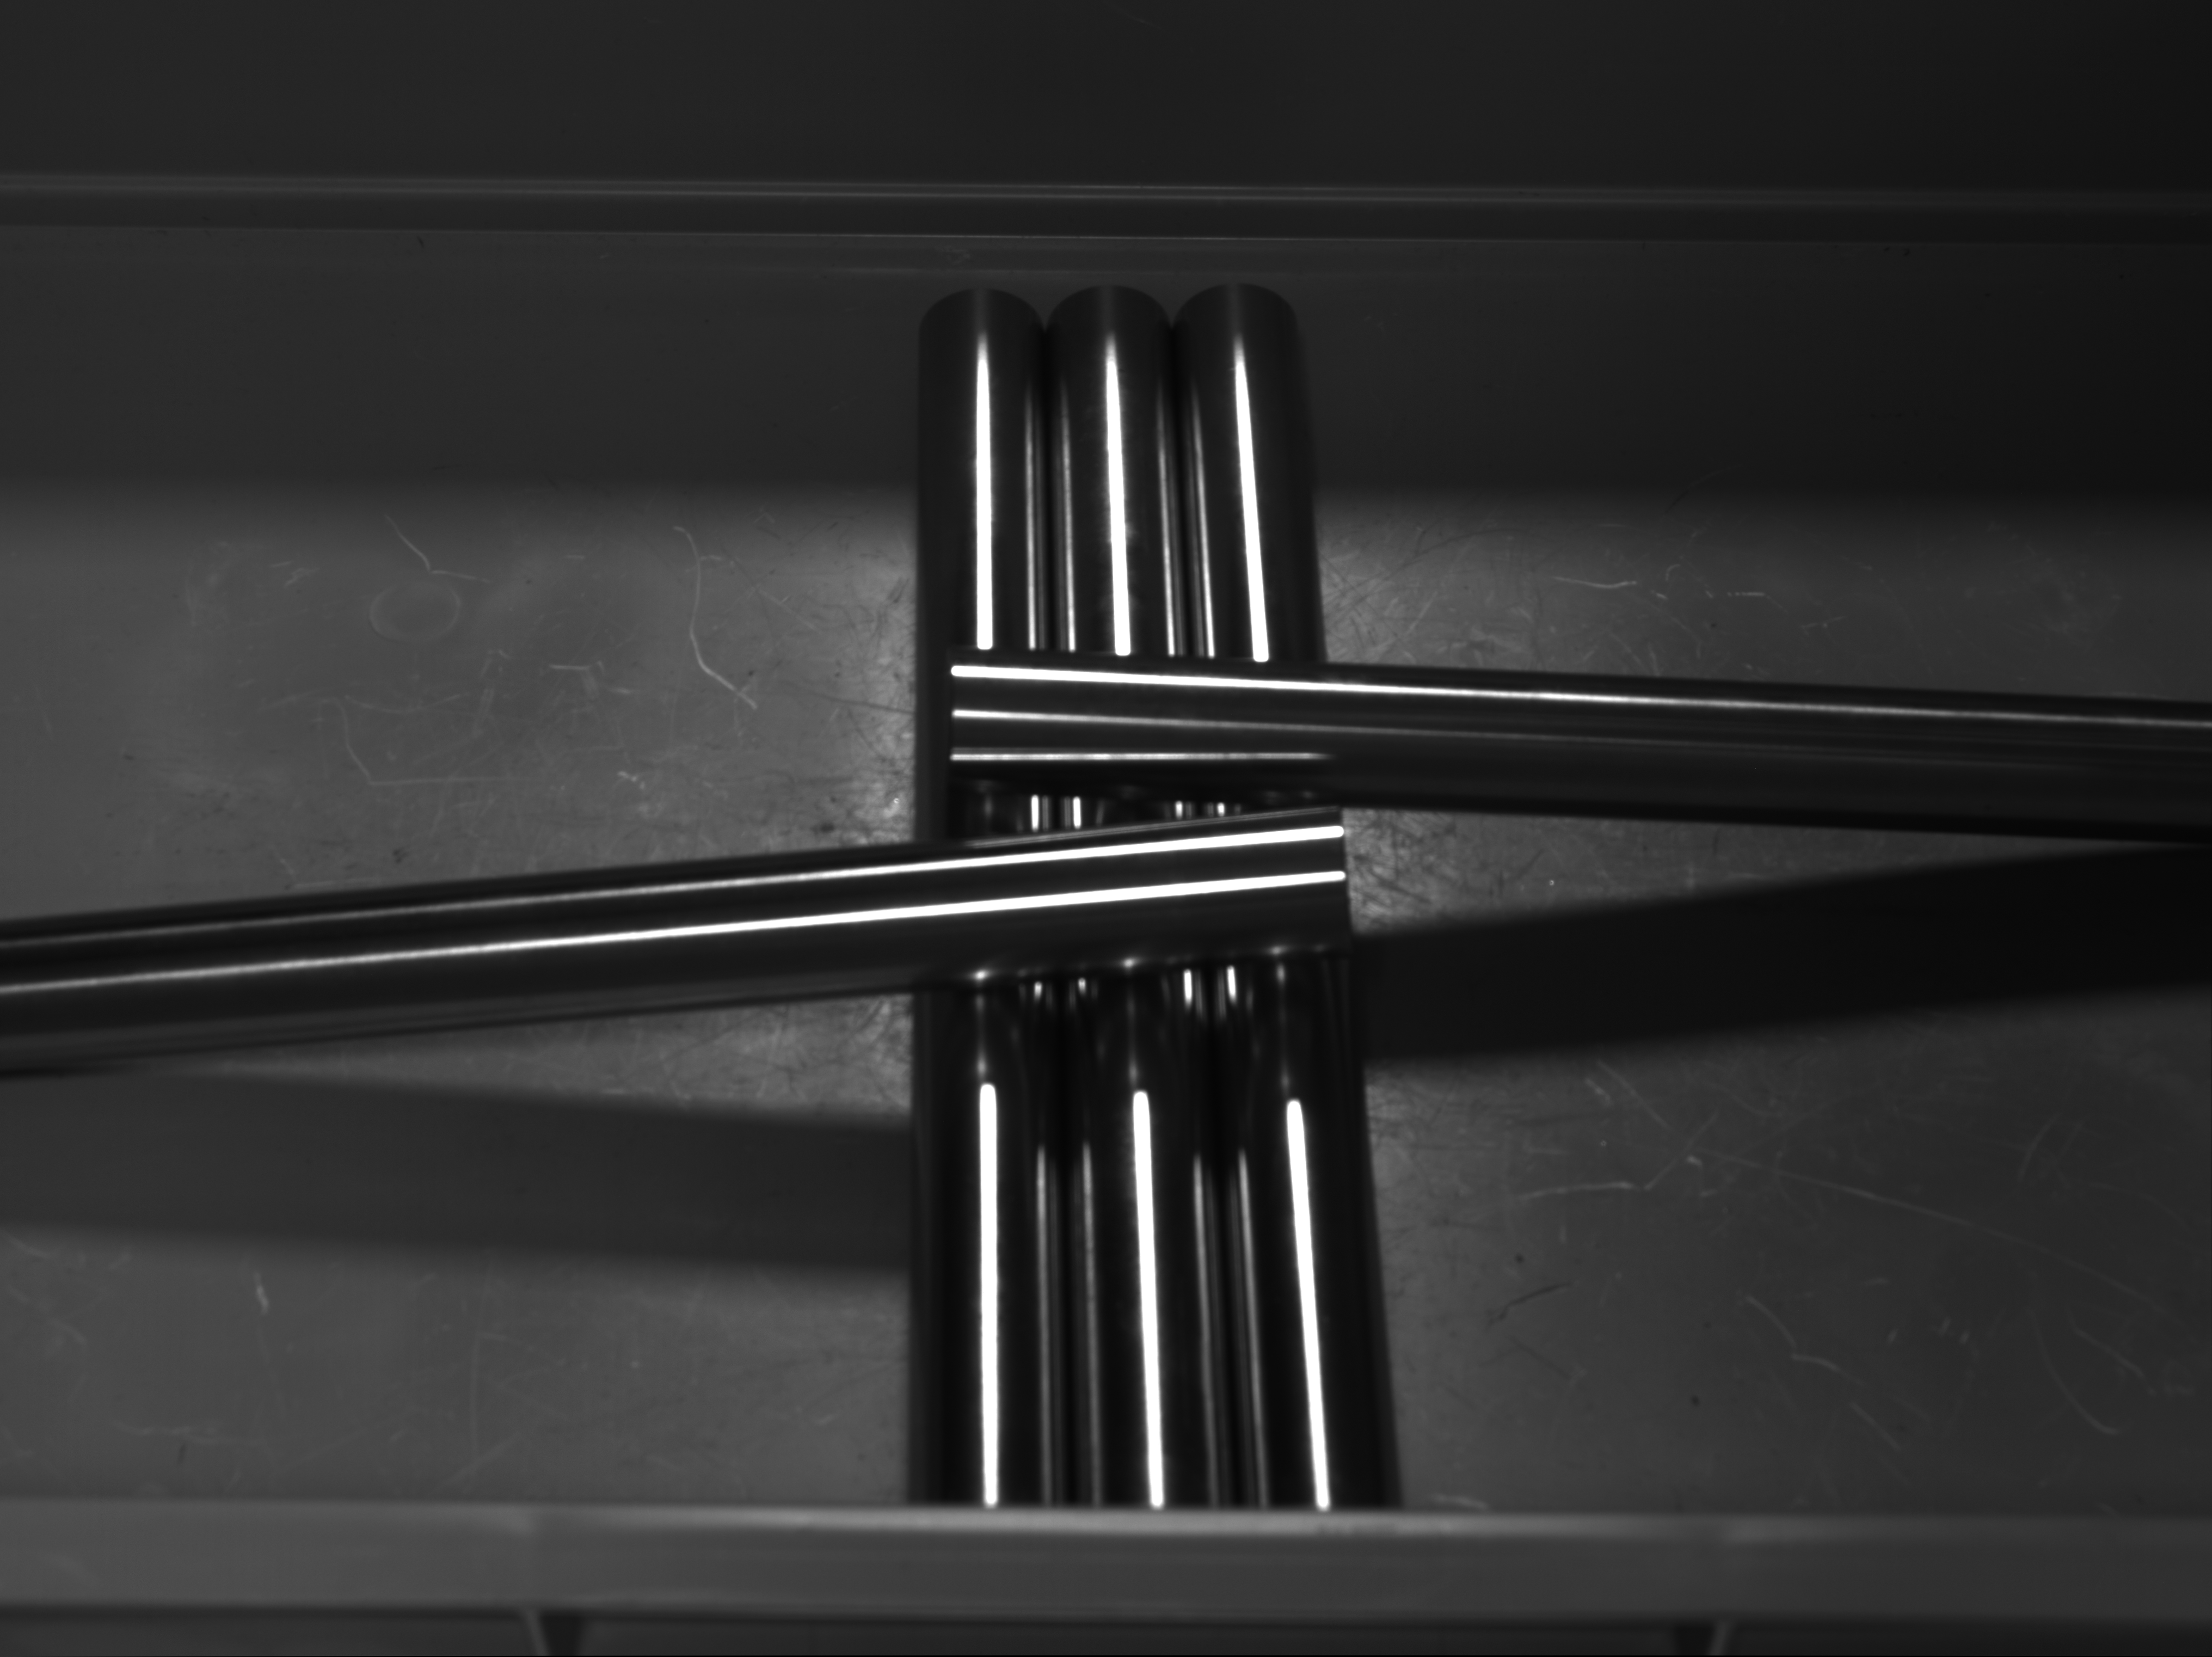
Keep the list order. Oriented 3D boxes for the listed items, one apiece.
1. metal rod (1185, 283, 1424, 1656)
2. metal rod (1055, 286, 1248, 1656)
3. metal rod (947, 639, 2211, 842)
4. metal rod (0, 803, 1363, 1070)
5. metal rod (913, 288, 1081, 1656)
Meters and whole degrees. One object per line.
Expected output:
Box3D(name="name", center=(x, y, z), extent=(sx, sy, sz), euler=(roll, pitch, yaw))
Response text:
Box3D(name="metal rod", center=(0.031, 0.016, 0.627), extent=(0.025, 0.025, 0.300), euler=(-1, 50, -1))
Box3D(name="metal rod", center=(0.005, 0.017, 0.627), extent=(0.025, 0.025, 0.300), euler=(-1, 50, -1))
Box3D(name="metal rod", center=(0.123, -0.013, 0.629), extent=(0.300, 0.025, 0.025), euler=(2, 50, -6))
Box3D(name="metal rod", center=(-0.109, 0.021, 0.602), extent=(0.300, 0.025, 0.025), euler=(-5, 50, 4))
Box3D(name="metal rod", center=(-0.019, 0.017, 0.627), extent=(0.025, 0.025, 0.300), euler=(-1, 50, -1))
